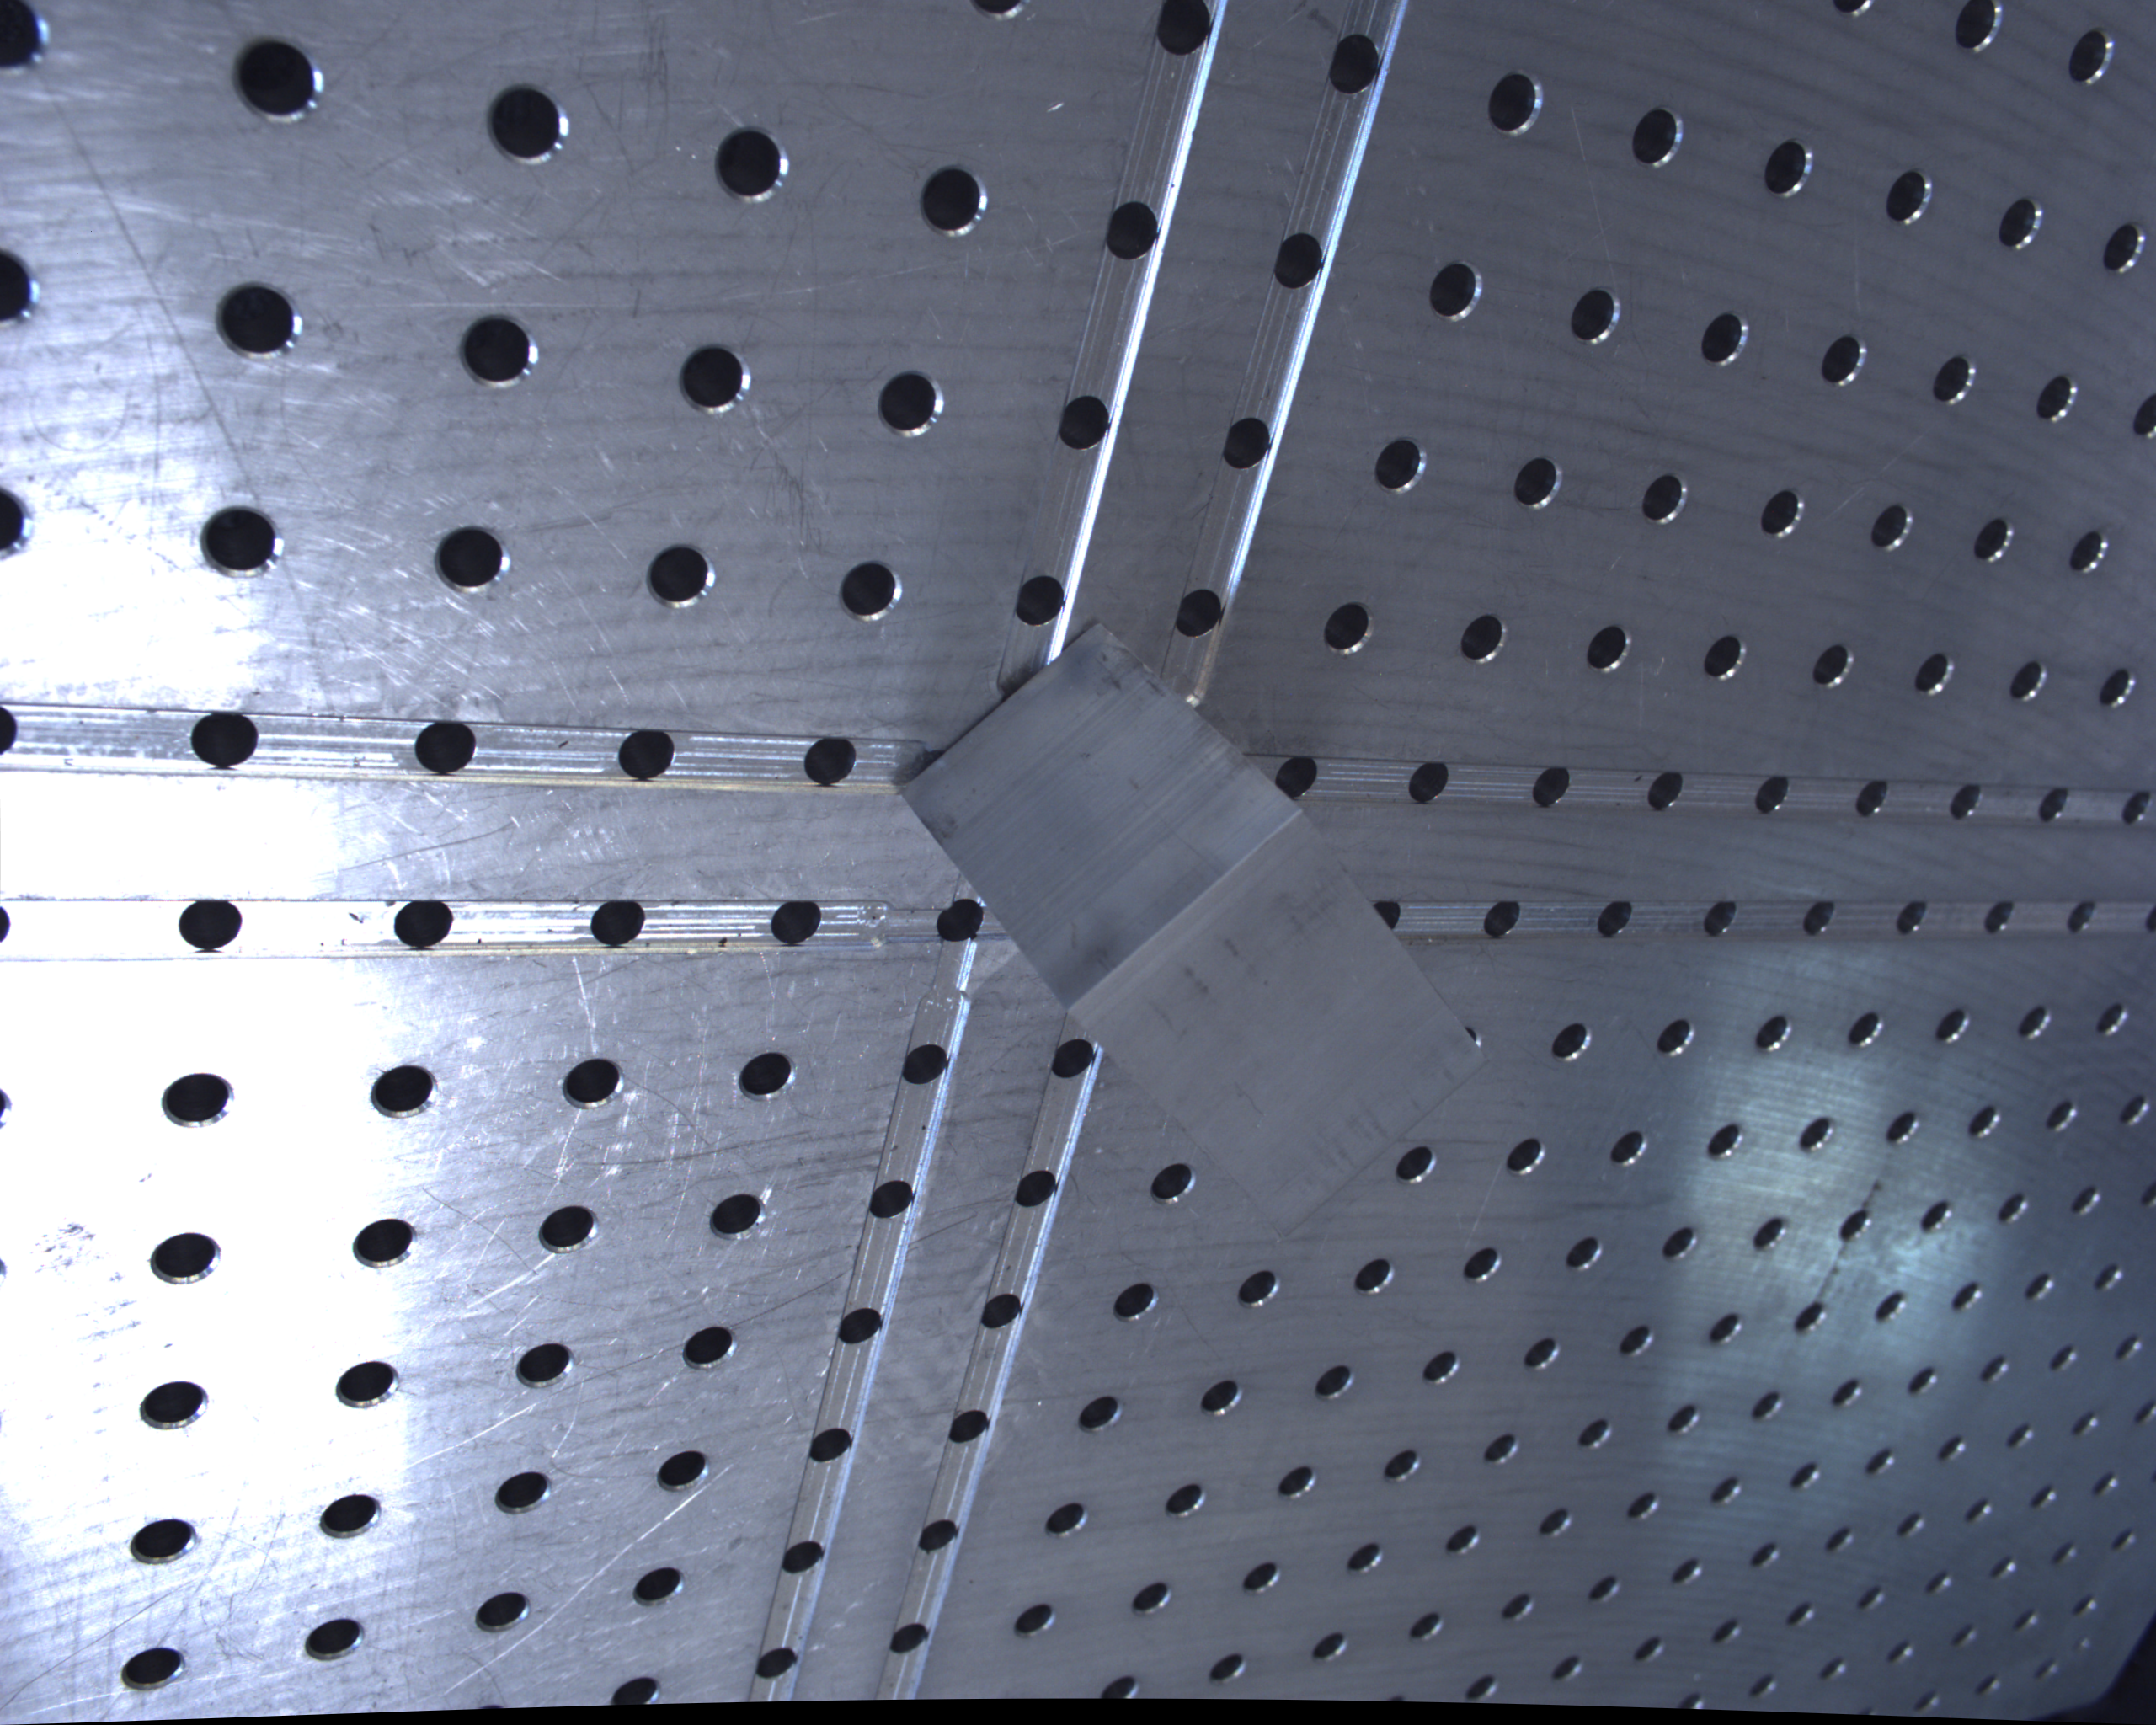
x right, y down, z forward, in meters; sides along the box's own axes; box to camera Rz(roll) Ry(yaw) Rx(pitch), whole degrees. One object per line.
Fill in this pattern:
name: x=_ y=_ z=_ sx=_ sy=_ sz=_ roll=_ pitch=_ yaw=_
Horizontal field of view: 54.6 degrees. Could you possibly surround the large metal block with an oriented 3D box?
large metal block: x=0.021 y=0.012 z=0.393 sx=0.050 sy=0.080 sz=0.080 roll=-41 pitch=130 yaw=0
